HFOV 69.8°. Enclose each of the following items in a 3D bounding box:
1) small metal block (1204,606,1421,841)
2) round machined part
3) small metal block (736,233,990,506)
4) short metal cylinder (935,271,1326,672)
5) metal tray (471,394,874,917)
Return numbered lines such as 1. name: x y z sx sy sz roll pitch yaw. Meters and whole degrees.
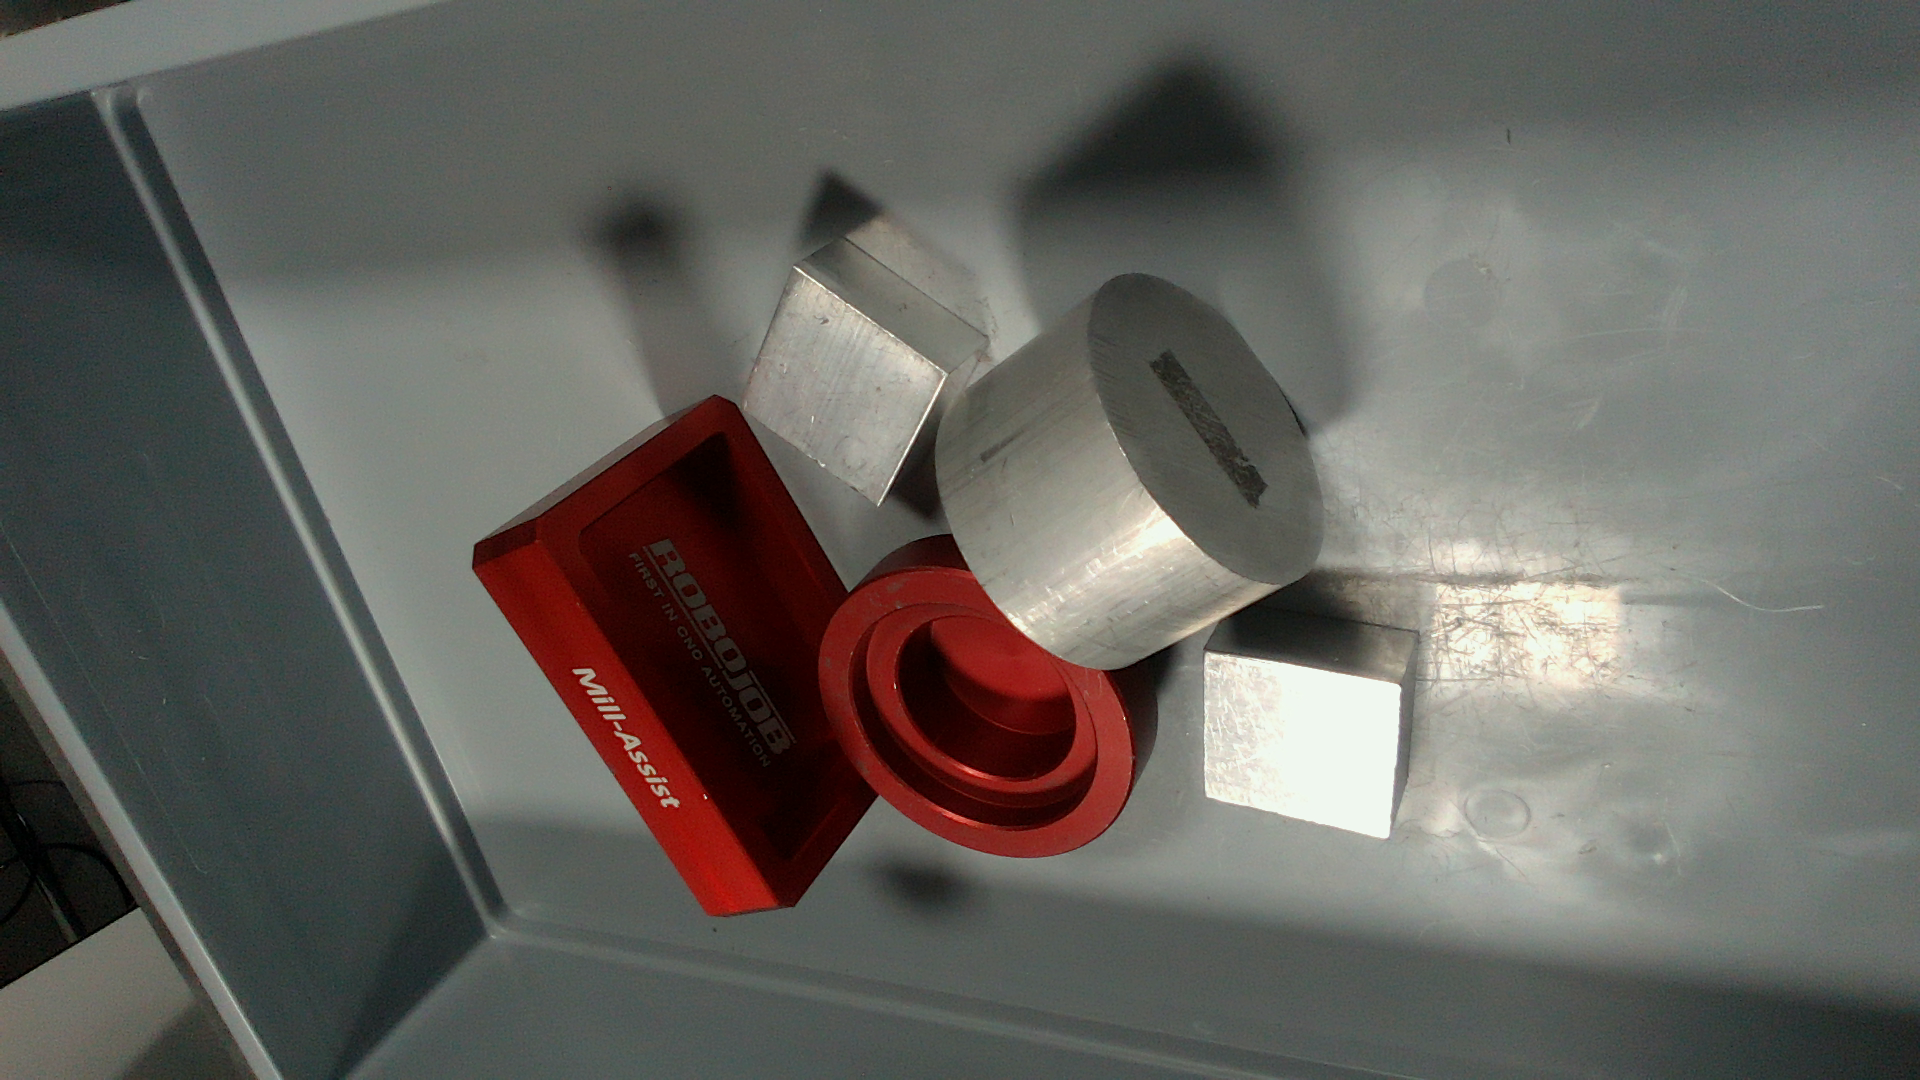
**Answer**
1. small metal block: 0.094 0.048 0.370 0.050 0.025 0.050 10 122 25
2. round machined part: 0.011 0.041 0.398 0.098 0.042 0.098 13 124 21
3. small metal block: -0.027 -0.046 0.377 0.050 0.025 0.050 36 130 6
4. short metal cylinder: 0.041 -0.015 0.325 0.050 0.080 0.080 -33 100 38
5. metal tray: -0.072 0.033 0.408 0.030 0.090 0.130 -18 109 36
